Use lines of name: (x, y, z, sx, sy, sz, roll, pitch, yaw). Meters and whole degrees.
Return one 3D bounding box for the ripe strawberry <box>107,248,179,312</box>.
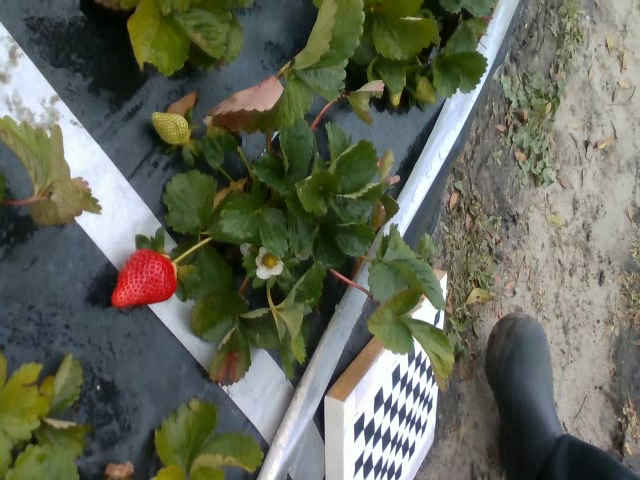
ripe strawberry: (-0.114, 0.027, 0.392, 0.038, 0.041, 0.051, 16, 33, 24)
